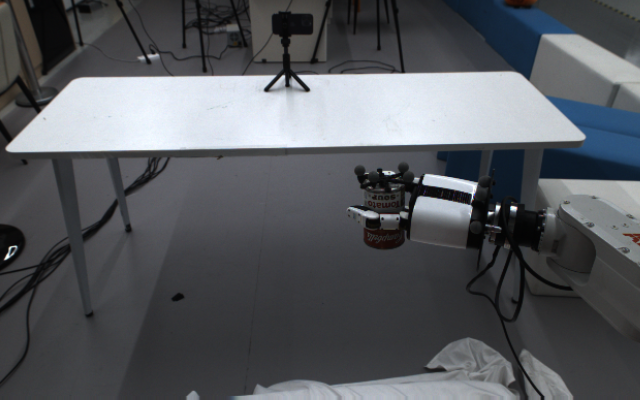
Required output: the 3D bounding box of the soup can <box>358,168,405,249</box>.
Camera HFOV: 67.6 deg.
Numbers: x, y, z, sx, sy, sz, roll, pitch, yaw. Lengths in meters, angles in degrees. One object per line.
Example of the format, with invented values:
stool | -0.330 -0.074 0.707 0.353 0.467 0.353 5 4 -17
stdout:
soup can | 0.103 0.018 0.770 0.067 0.101 0.067 -4 25 2
